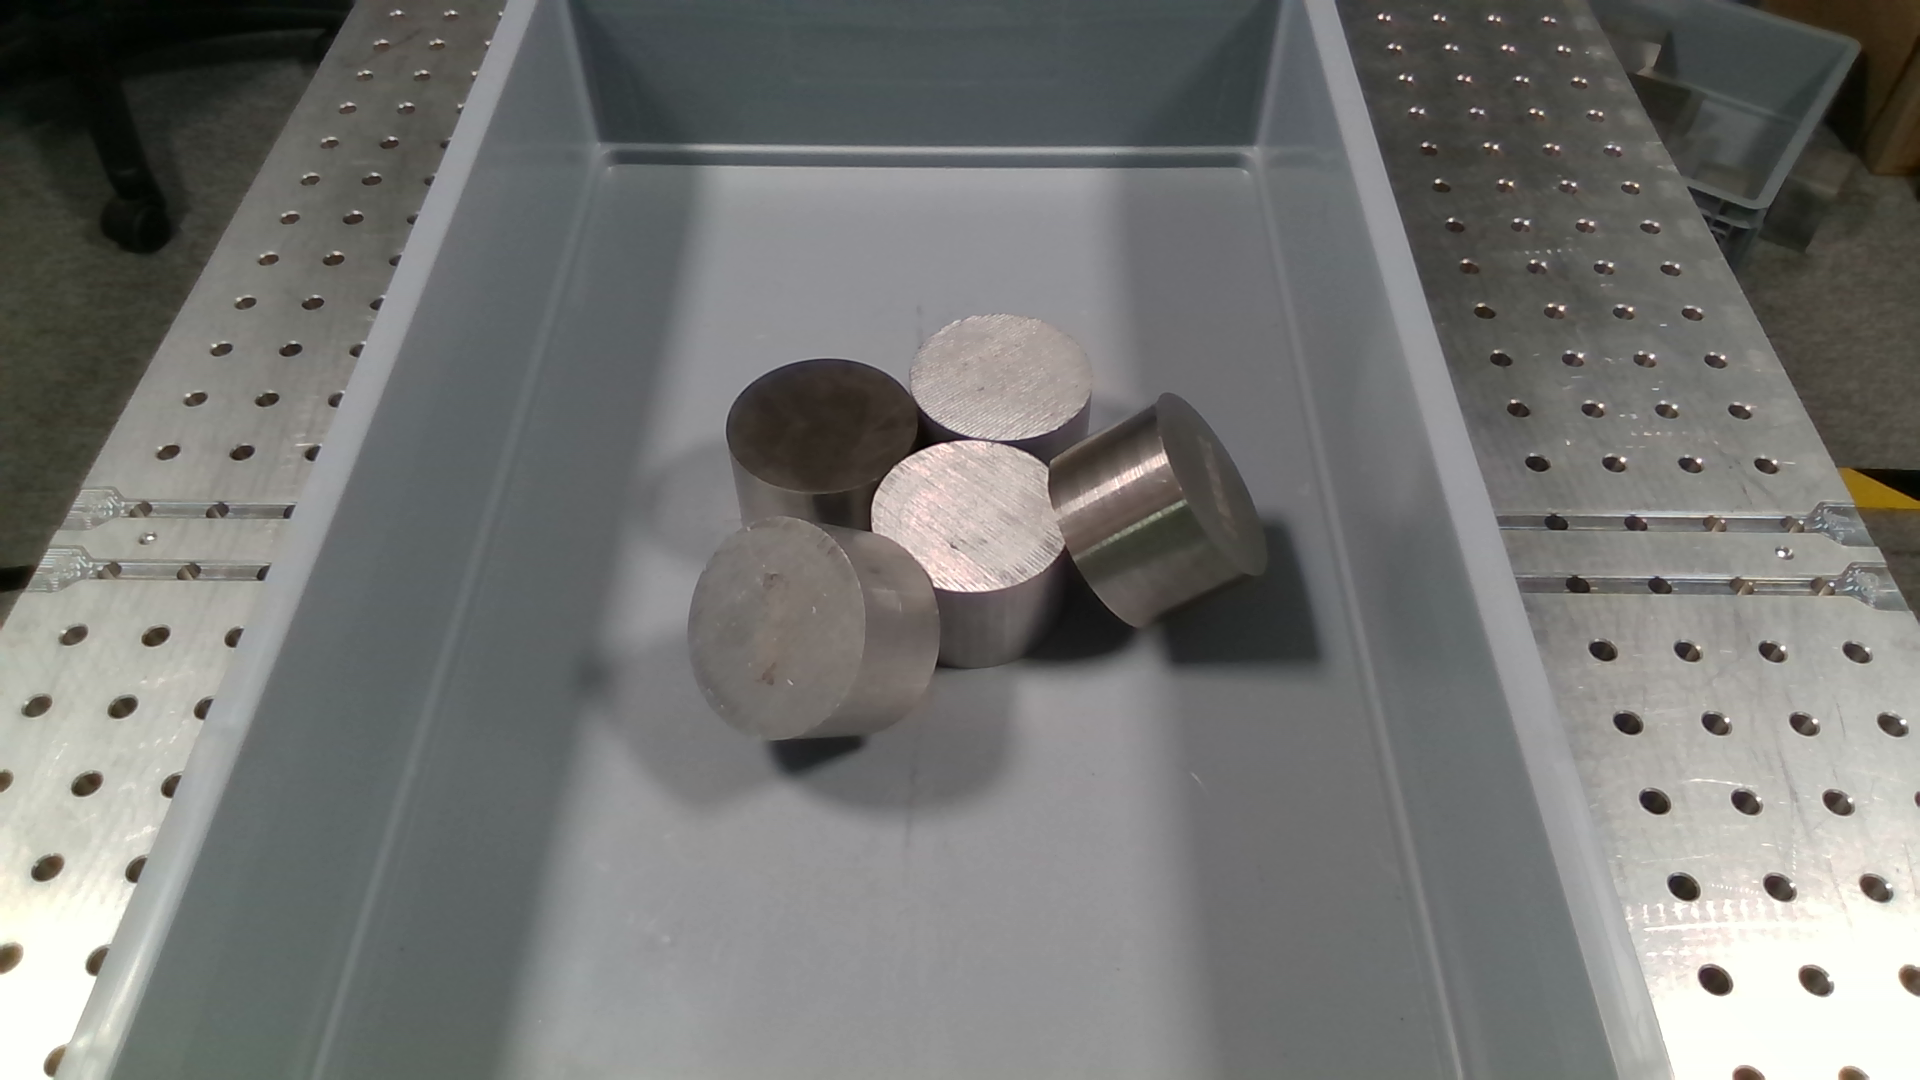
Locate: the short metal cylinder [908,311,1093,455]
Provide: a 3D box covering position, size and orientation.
[{"bbox_3d":[0.018,-0.057,0.616,0.080,0.050,0.080,0,50,0],"label":"short metal cylinder"}]

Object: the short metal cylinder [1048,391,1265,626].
[{"bbox_3d":[0.079,-0.012,0.550,0.050,0.080,0.080,-29,44,27],"label":"short metal cylinder"}]

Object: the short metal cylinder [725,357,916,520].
[{"bbox_3d":[-0.058,-0.034,0.597,0.080,0.050,0.080,0,50,0],"label":"short metal cylinder"}]

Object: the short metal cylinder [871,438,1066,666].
[{"bbox_3d":[0.005,0.004,0.565,0.080,0.050,0.080,0,50,0],"label":"short metal cylinder"}]

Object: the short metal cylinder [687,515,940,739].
[{"bbox_3d":[-0.055,0.033,0.515,0.080,0.050,0.080,-3,83,30],"label":"short metal cylinder"}]
